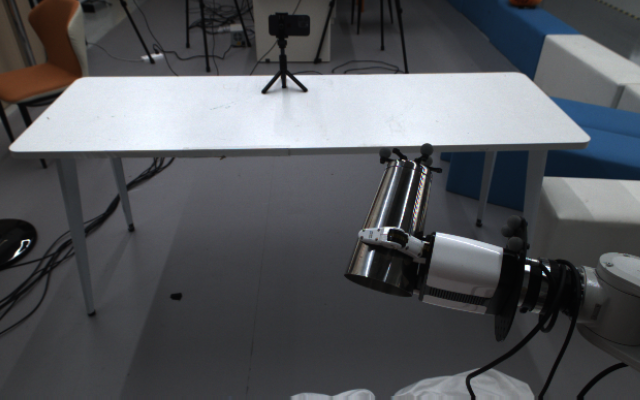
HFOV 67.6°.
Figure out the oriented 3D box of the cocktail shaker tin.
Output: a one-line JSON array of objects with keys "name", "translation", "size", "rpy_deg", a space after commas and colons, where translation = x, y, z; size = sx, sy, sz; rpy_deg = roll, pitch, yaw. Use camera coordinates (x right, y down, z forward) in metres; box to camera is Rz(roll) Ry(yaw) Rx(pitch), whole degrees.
[{"name": "cocktail shaker tin", "translation": [0.099, 0.036, 0.656], "size": [0.093, 0.093, 0.170], "rpy_deg": [14, 73, 16]}]
